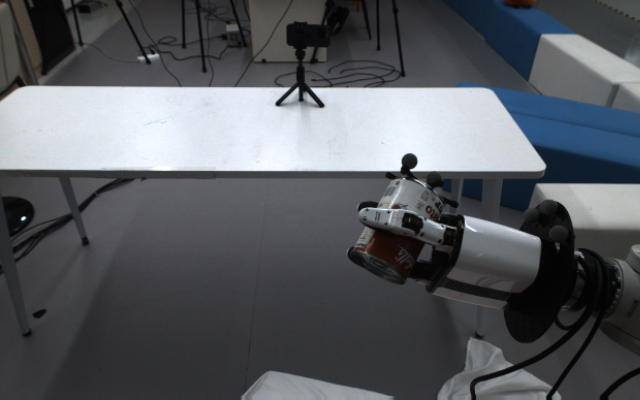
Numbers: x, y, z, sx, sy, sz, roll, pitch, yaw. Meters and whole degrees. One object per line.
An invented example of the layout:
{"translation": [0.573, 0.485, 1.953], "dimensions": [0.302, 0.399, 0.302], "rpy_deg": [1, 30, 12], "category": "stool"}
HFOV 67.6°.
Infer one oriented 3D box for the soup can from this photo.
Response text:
{"translation": [0.089, 0.033, 0.537], "dimensions": [0.067, 0.067, 0.101], "rpy_deg": [22, 71, 26], "category": "soup can"}
